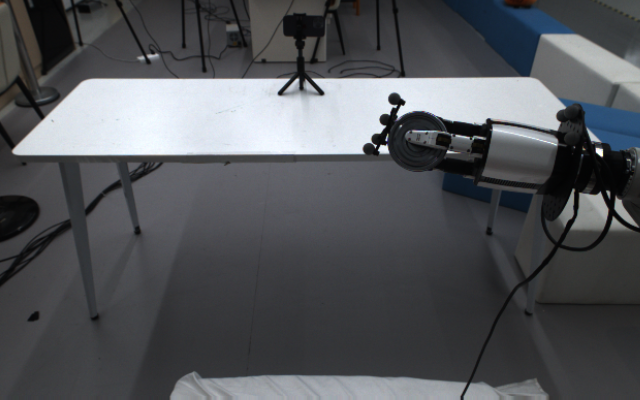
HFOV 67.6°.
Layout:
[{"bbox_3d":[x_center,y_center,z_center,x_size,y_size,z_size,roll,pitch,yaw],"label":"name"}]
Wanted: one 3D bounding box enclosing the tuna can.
[{"bbox_3d":[0.141,-0.086,0.691,0.085,0.085,0.034,9,4,10],"label":"tuna can"}]
